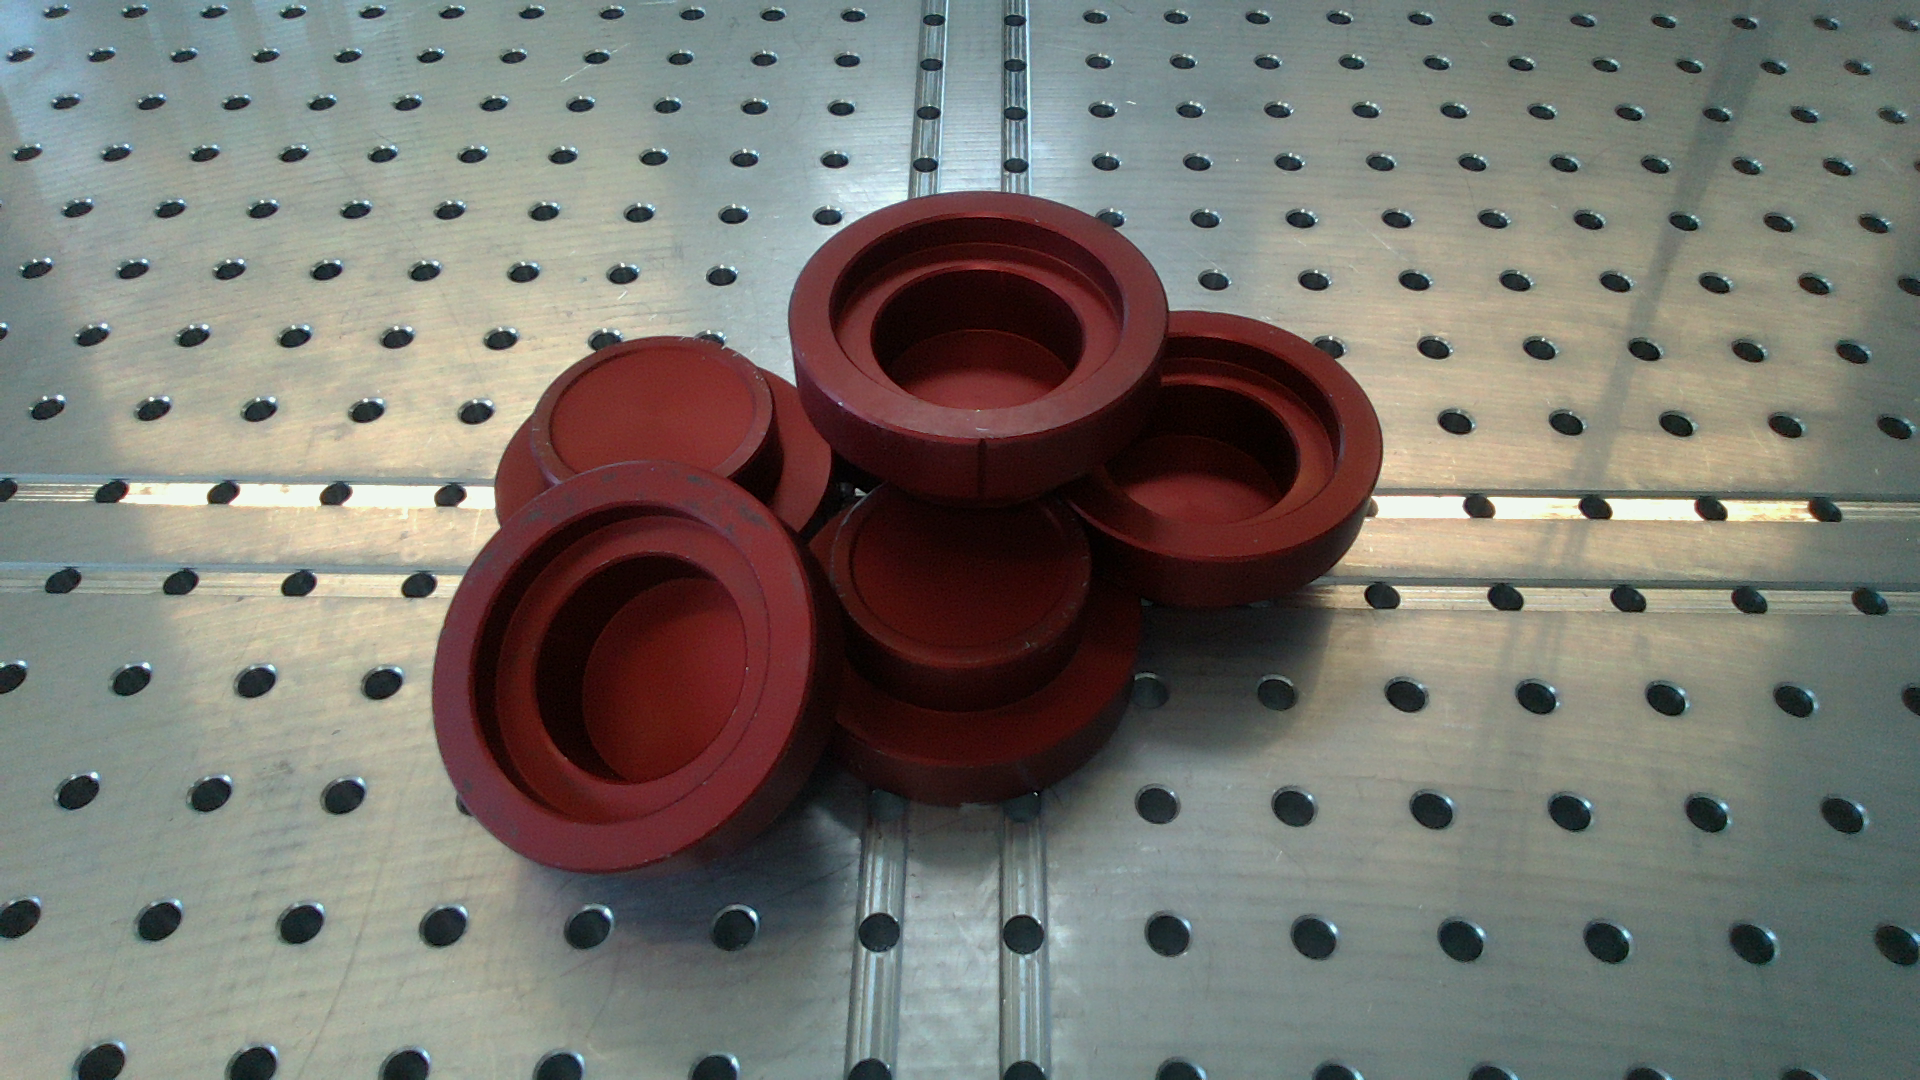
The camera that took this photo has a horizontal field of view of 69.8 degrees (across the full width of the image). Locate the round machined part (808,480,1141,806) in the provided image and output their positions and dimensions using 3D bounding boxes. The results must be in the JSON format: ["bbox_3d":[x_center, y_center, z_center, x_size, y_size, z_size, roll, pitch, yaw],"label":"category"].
[{"bbox_3d":[-0.001,0.018,0.368,0.098,0.042,0.098,0,50,0],"label":"round machined part"}]

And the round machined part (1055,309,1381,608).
[{"bbox_3d":[0.068,-0.019,0.399,0.098,0.042,0.098,0,50,0],"label":"round machined part"}]

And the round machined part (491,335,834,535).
[{"bbox_3d":[-0.087,-0.022,0.402,0.098,0.042,0.098,0,50,0],"label":"round machined part"}]

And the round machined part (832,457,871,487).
[{"bbox_3d":[0.000,-0.057,0.432,0.098,0.042,0.098,0,50,0],"label":"round machined part"}]

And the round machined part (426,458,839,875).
[{"bbox_3d":[-0.076,0.033,0.338,0.098,0.042,0.098,-4,72,13],"label":"round machined part"}]

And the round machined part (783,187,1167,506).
[{"bbox_3d":[0.004,-0.048,0.368,0.098,0.042,0.098,0,50,0],"label":"round machined part"}]
